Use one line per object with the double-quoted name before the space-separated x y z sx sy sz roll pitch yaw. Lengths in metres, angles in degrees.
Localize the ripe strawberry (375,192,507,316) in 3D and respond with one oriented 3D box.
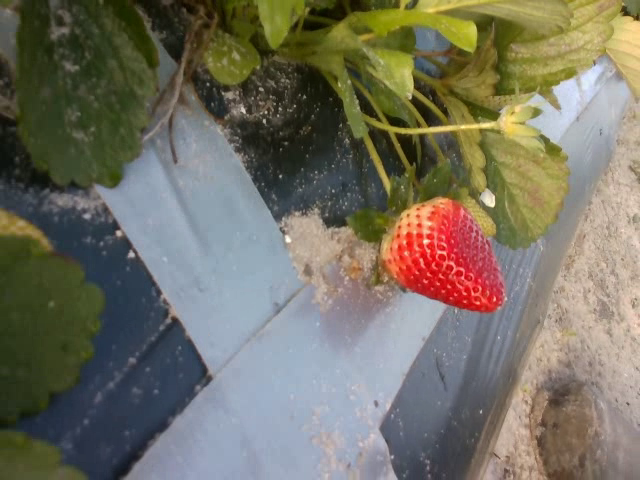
"ripe strawberry" 0.025 0.003 0.109 0.023 0.026 0.021 -20 -31 -29
